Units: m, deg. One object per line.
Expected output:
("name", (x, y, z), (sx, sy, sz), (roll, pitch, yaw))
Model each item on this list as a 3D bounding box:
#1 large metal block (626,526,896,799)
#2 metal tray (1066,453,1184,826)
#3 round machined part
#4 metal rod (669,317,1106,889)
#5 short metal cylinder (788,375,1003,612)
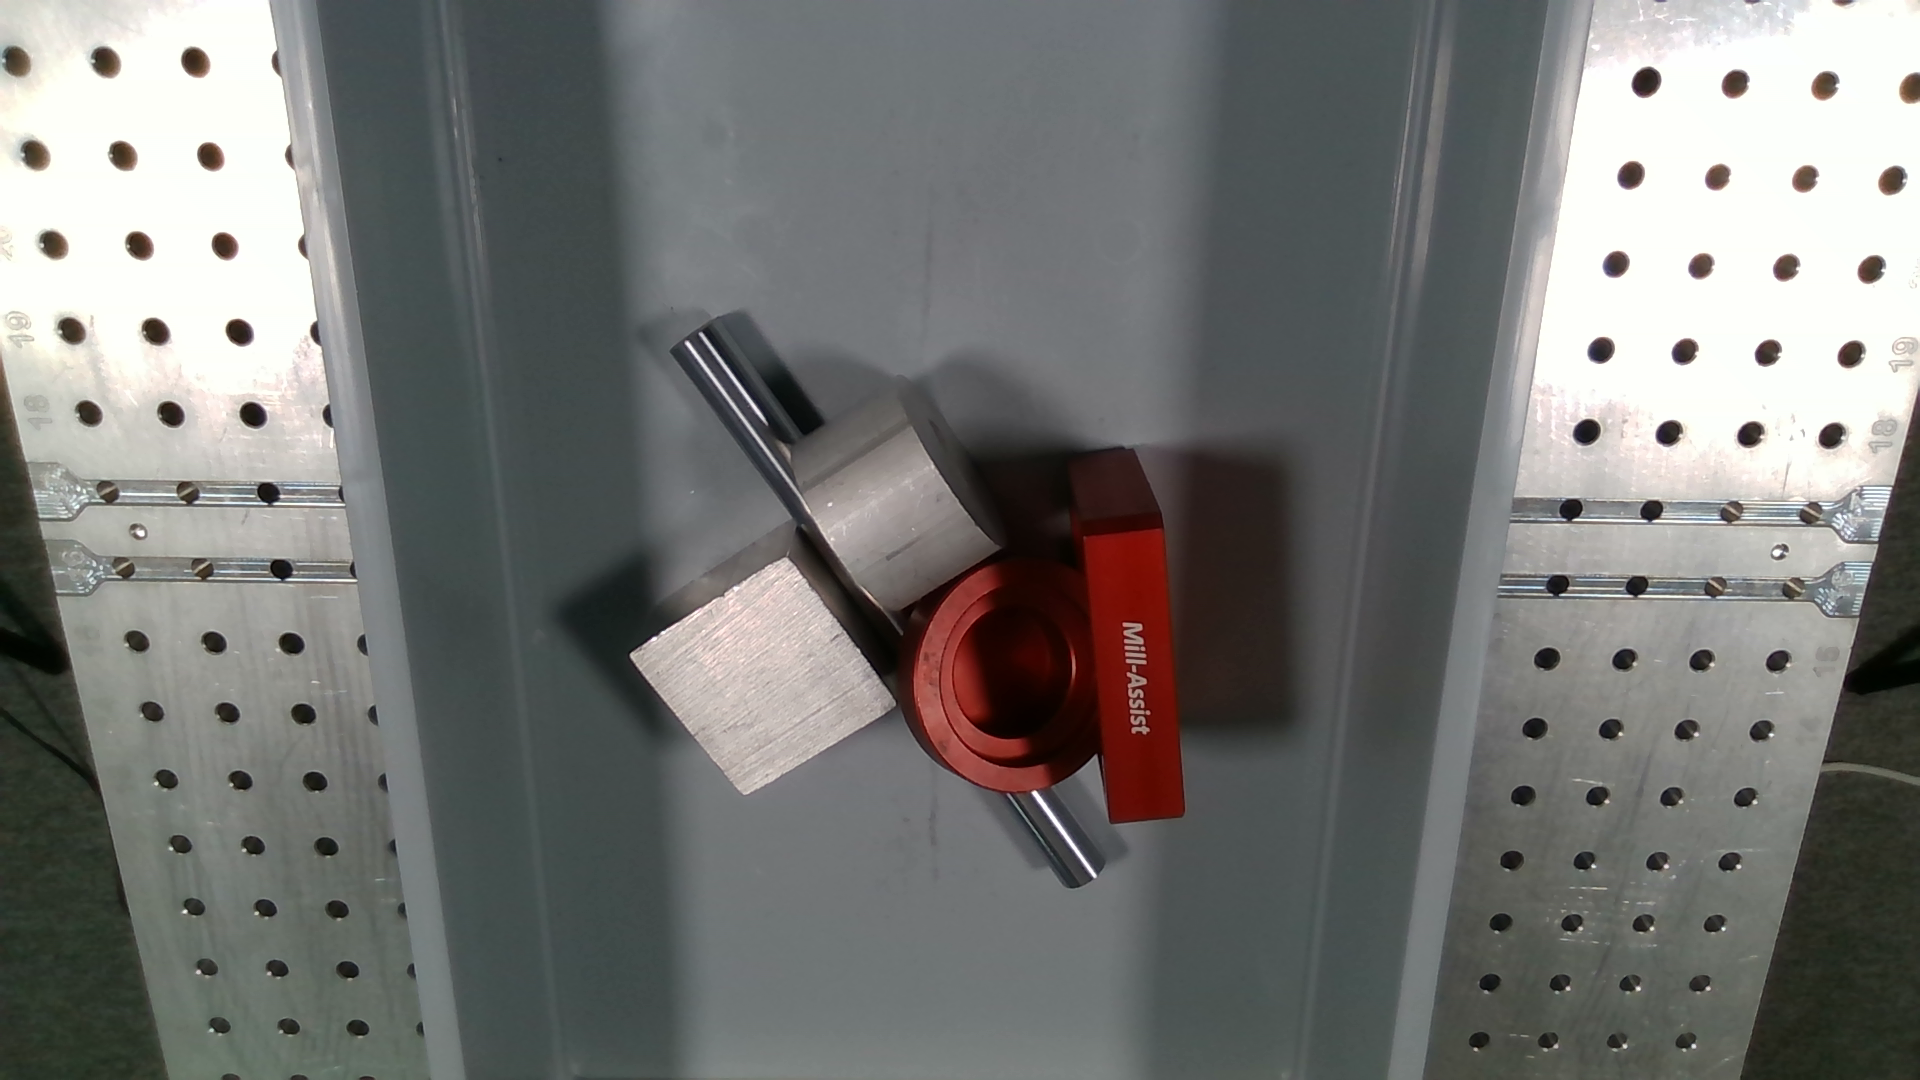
("large metal block", (-0.080, 0.049, 0.587), (0.080, 0.050, 0.080), (-31, 107, 11))
("metal tray", (0.066, 0.038, 0.562), (0.030, 0.090, 0.130), (-6, 110, 2))
("round machined part", (0.018, 0.055, 0.580), (0.098, 0.042, 0.098), (-2, 94, -24))
("metal rod", (-0.025, 0.035, 0.596), (0.025, 0.025, 0.300), (-31, 107, 11))
("short metal cylinder", (-0.024, -0.018, 0.548), (0.050, 0.080, 0.080), (-32, 107, 11))
